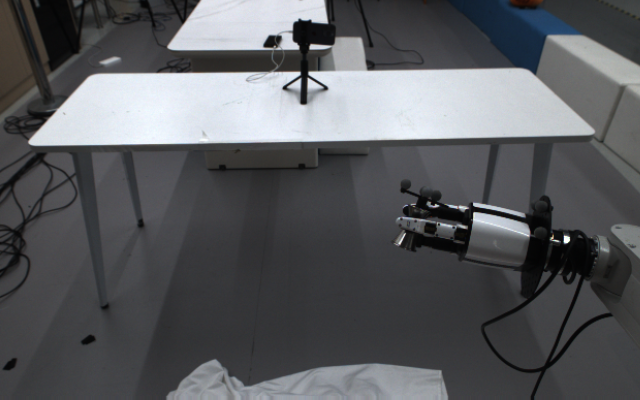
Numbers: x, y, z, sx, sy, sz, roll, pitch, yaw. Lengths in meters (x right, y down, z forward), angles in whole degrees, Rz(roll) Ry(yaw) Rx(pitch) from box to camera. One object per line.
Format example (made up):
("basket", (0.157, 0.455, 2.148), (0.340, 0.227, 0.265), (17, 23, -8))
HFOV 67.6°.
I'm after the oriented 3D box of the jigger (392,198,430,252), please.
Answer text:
("jigger", (0.145, 0.042, 0.772), (0.043, 0.071, 0.043), (22, 6, -2))
